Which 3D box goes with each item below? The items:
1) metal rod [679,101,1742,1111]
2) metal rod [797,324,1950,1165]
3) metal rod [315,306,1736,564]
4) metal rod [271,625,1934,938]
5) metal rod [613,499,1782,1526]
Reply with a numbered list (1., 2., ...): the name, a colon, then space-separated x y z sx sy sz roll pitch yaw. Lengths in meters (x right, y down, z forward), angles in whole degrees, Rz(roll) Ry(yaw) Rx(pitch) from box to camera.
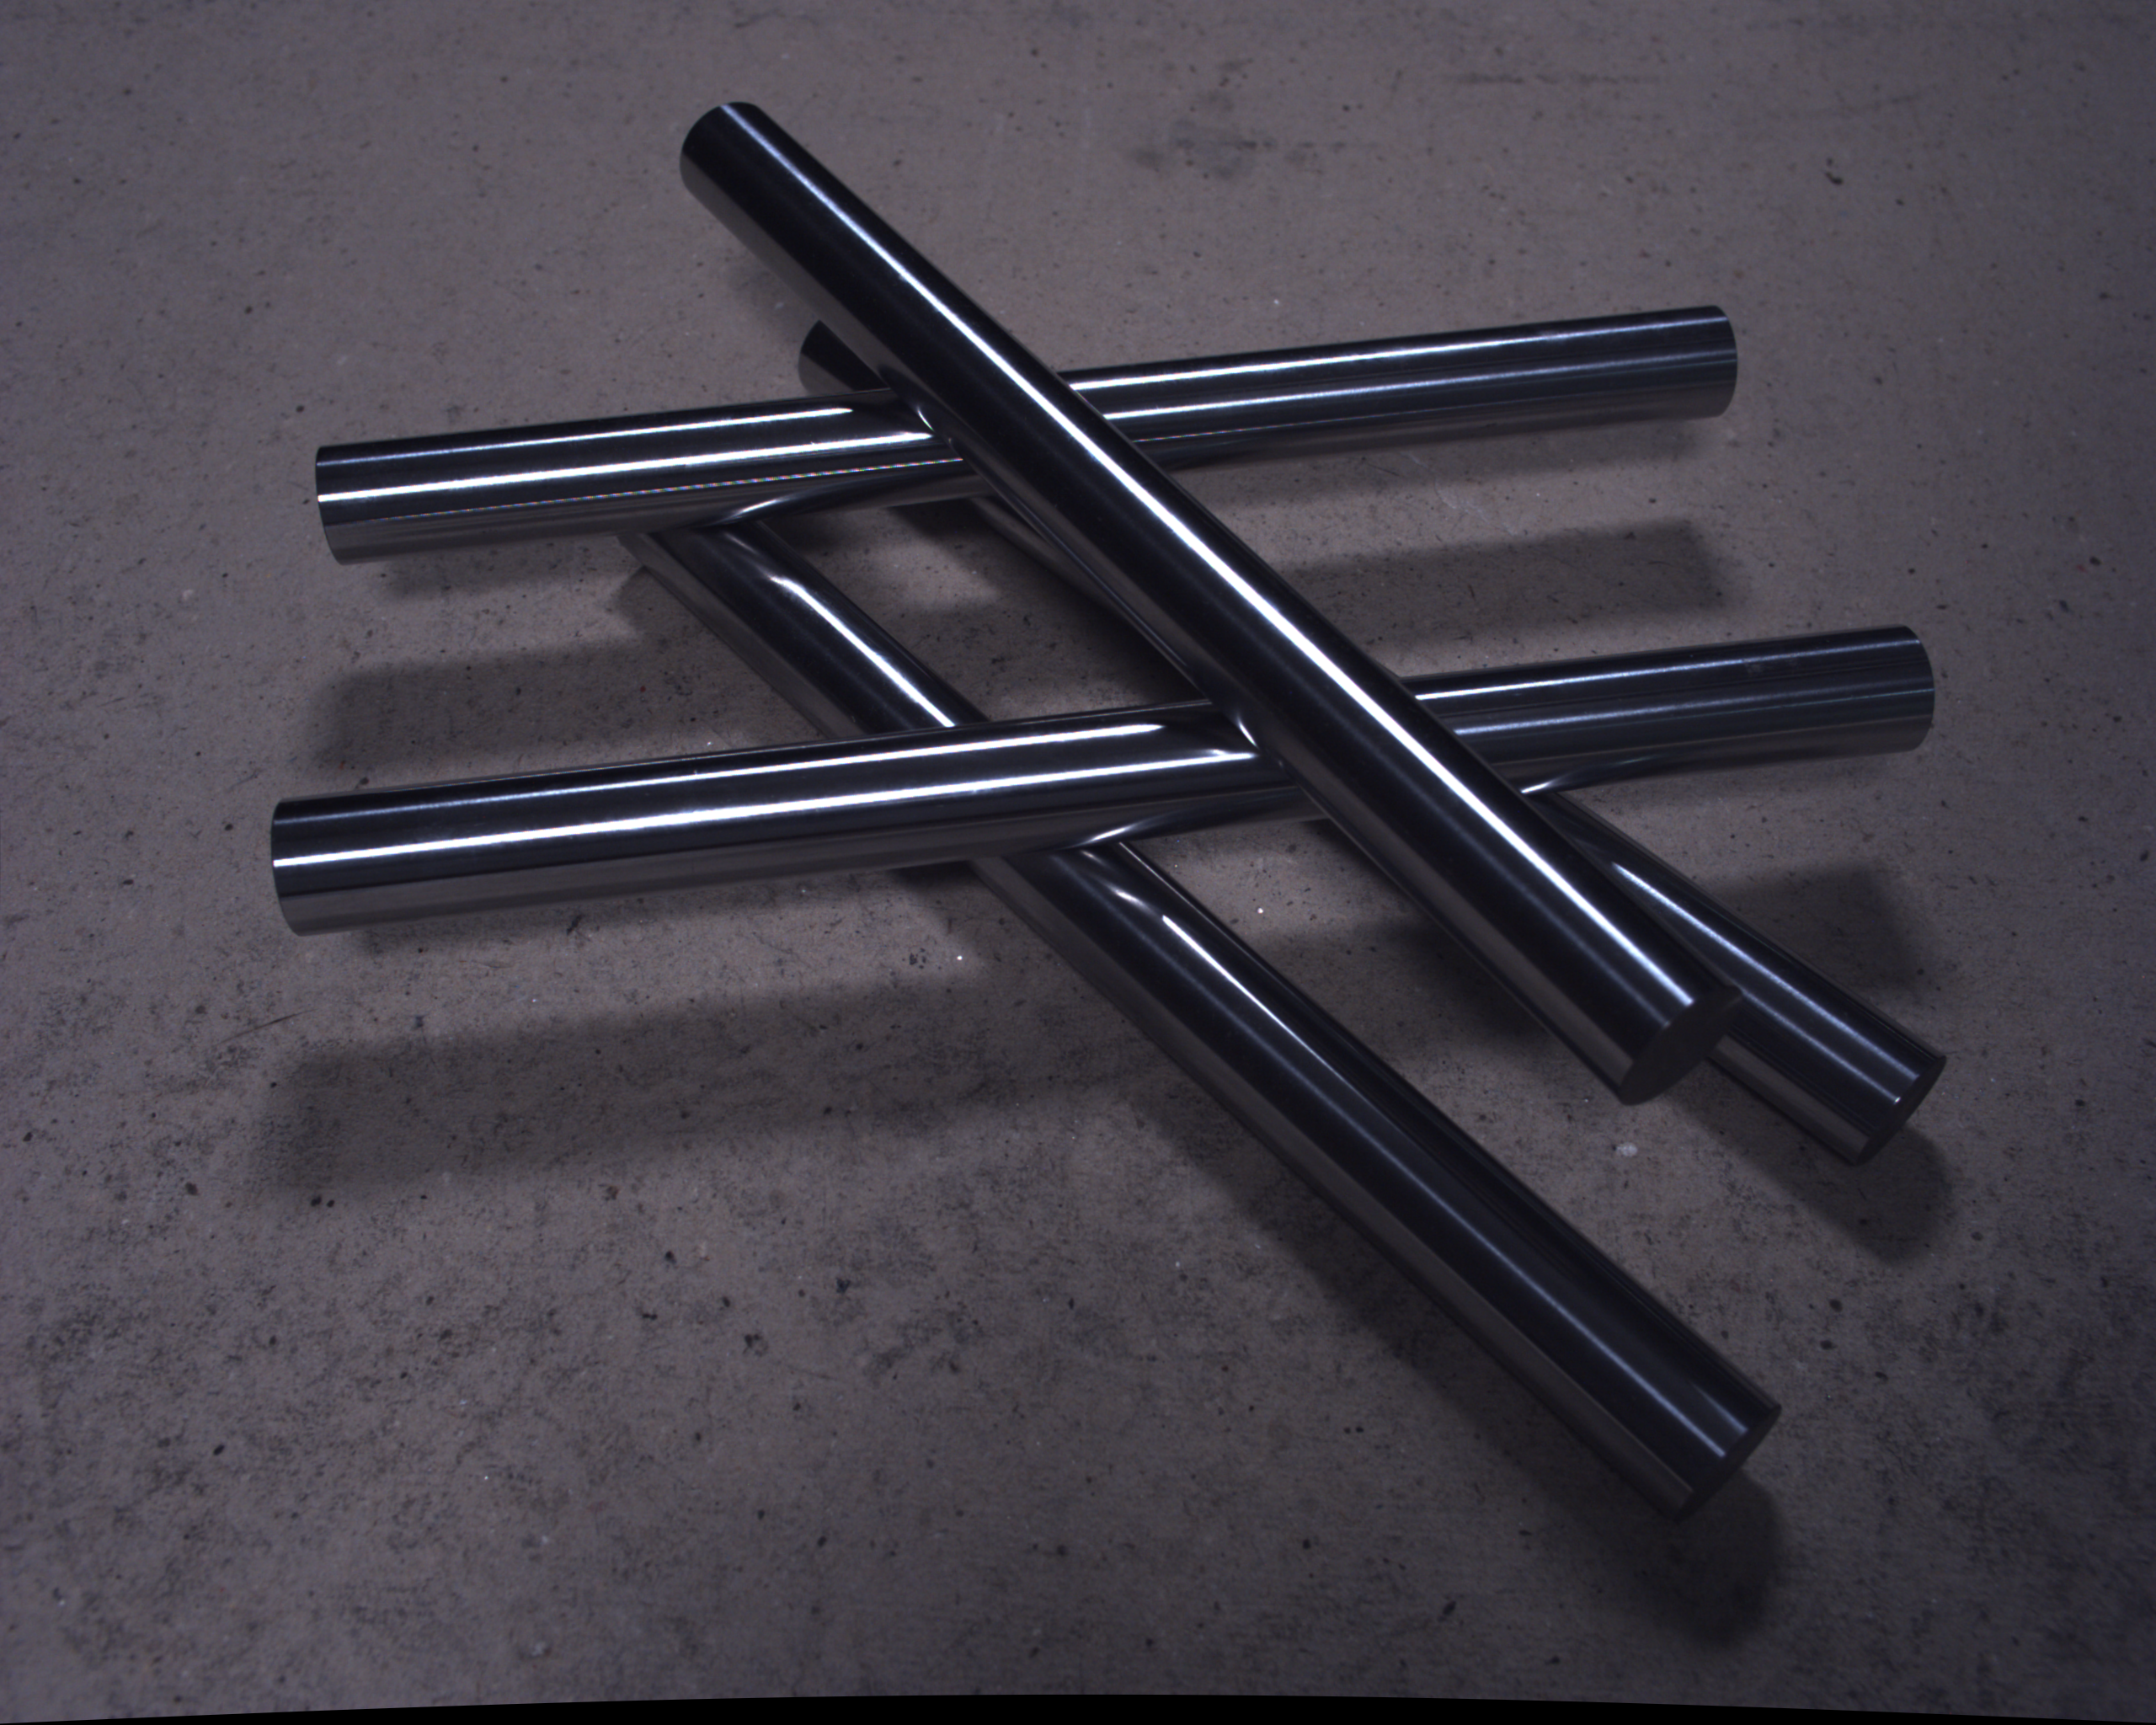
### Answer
1. metal rod: 0.006 -0.066 0.396 0.025 0.025 0.300 -28 56 -22
2. metal rod: 0.044 -0.041 0.439 0.025 0.025 0.300 -35 59 -26
3. metal rod: -0.006 -0.093 0.451 0.302 0.025 0.025 -7 51 -7
4. metal rod: 0.010 -0.016 0.387 0.302 0.025 0.025 -7 51 -6
5. metal rod: 0.003 0.007 0.398 0.025 0.025 0.300 -34 58 -25
